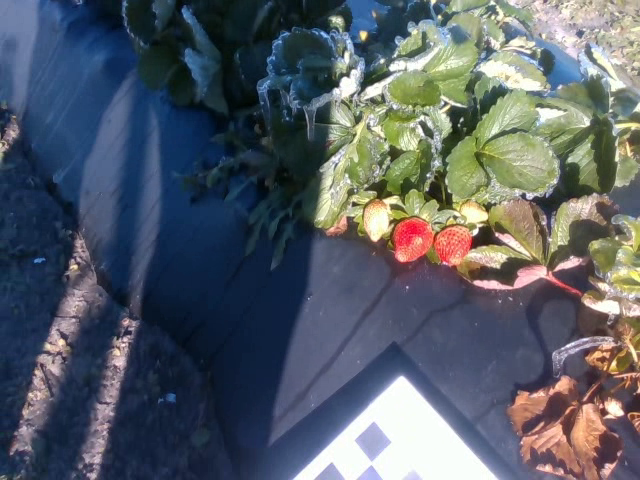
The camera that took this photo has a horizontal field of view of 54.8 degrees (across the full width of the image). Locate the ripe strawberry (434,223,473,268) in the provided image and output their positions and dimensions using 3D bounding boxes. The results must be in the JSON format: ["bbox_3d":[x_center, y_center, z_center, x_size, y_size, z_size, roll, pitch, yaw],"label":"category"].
[{"bbox_3d":[0.117,0.006,0.532,0.036,0.041,0.030,-21,-34,15],"label":"ripe strawberry"}]

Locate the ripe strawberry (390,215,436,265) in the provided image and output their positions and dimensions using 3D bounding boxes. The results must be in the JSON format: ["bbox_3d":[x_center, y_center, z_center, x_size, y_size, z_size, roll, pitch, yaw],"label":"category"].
[{"bbox_3d":[0.077,0.005,0.530,0.036,0.040,0.052,3,33,25],"label":"ripe strawberry"}]
